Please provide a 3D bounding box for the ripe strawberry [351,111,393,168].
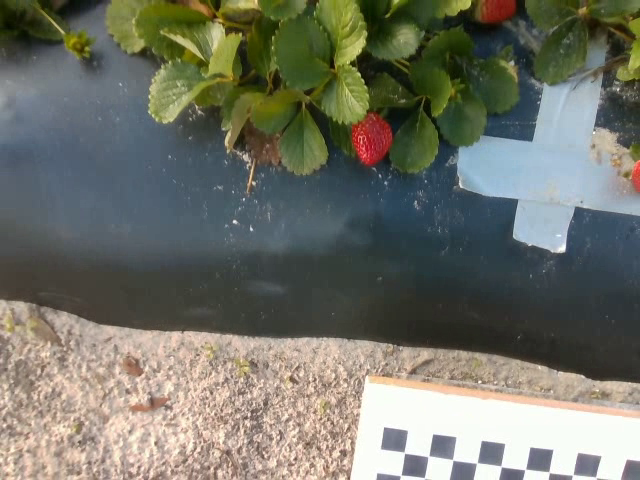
[{"bbox_3d":[0.020,-0.039,0.222,0.018,0.023,0.021,1,-21,18],"label":"ripe strawberry"}]
